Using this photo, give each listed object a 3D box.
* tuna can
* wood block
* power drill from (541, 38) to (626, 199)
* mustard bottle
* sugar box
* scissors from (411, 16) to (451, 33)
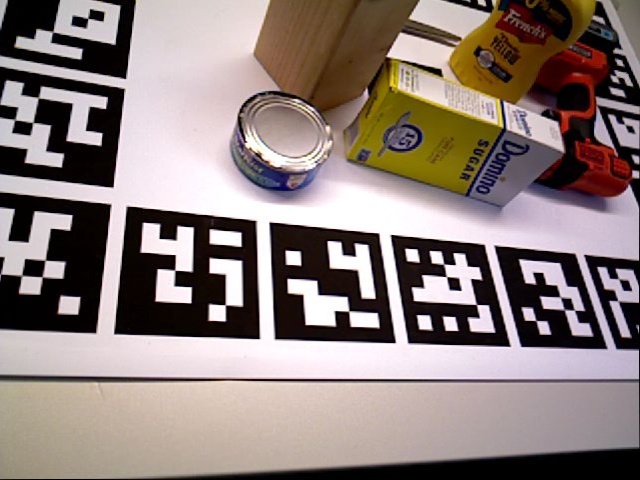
[{"bbox_3d":[-0.030,-0.084,0.465,0.085,0.034,0.085,9,62,-18],"label":"tuna can"},{"bbox_3d":[0.024,-0.210,0.462,0.089,0.211,0.090,-25,76,-31],"label":"wood block"},{"bbox_3d":[0.250,-0.147,0.599,0.183,0.058,0.185,17,67,-13],"label":"power drill"},{"bbox_3d":[0.222,-0.224,0.556,0.096,0.196,0.057,48,57,5],"label":"mustard bottle"},{"bbox_3d":[0.132,-0.089,0.502,0.175,0.095,0.044,17,55,-16],"label":"sugar box"},{"bbox_3d":[0.060,-0.254,0.602,0.200,0.016,0.086,7,58,-19],"label":"scissors"}]
